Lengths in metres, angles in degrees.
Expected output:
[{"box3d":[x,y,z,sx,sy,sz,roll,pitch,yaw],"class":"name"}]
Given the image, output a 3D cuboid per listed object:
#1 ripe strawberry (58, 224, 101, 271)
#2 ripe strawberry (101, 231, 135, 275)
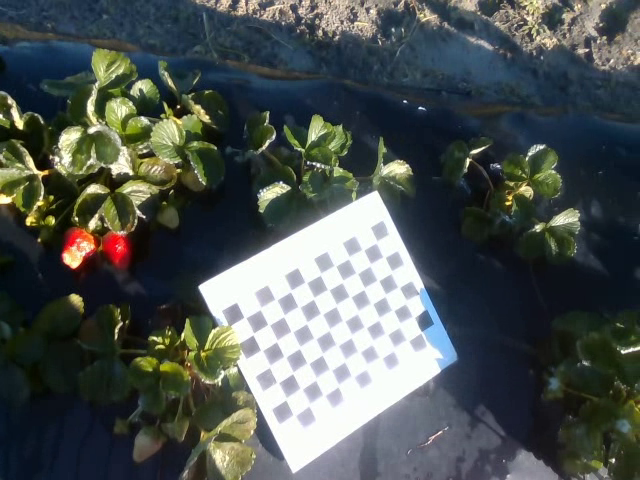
[{"box3d":[-0.357,0.014,0.857,0.052,0.070,0.040,21,-16,-20],"class":"ripe strawberry"},{"box3d":[-0.303,0.012,0.862,0.043,0.059,0.040,-28,-1,-15],"class":"ripe strawberry"}]
